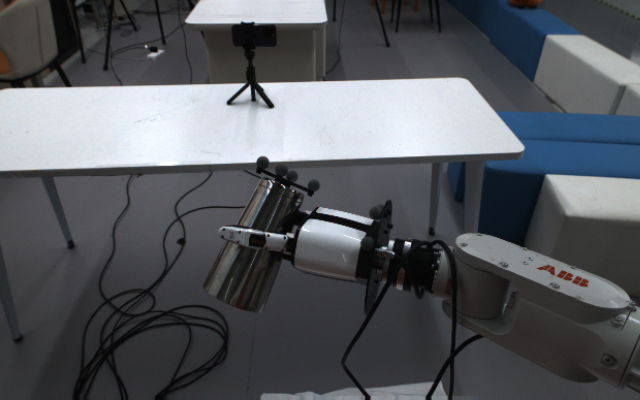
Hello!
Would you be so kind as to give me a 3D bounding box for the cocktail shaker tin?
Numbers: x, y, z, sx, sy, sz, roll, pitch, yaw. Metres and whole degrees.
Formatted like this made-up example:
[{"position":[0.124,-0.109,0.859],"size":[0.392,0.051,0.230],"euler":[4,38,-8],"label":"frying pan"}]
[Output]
[{"position":[-0.084,0.056,0.674],"size":[0.093,0.170,0.093],"euler":[23,0,0],"label":"cocktail shaker tin"}]
